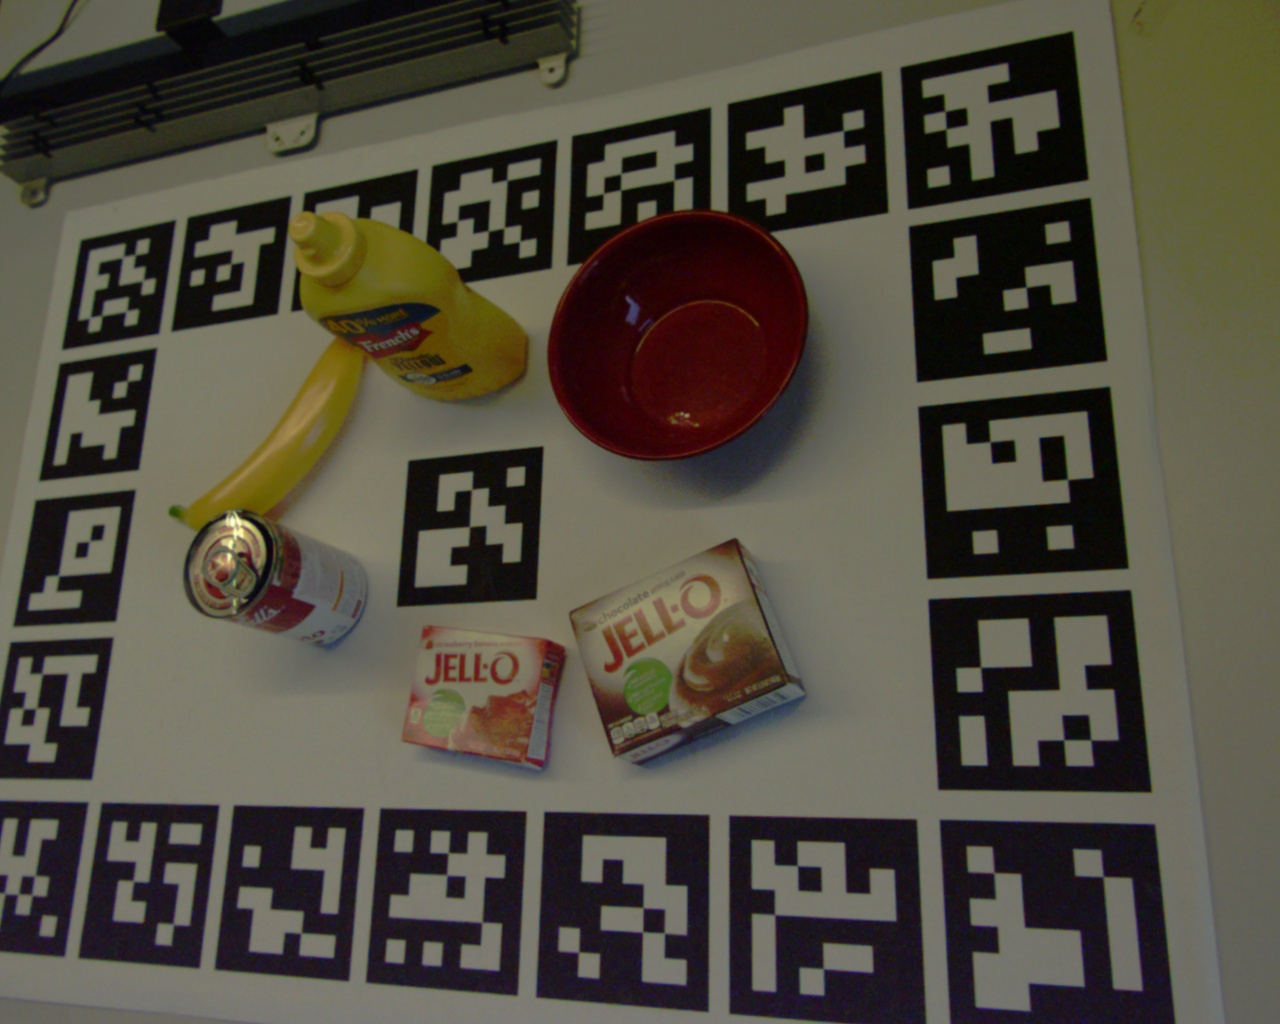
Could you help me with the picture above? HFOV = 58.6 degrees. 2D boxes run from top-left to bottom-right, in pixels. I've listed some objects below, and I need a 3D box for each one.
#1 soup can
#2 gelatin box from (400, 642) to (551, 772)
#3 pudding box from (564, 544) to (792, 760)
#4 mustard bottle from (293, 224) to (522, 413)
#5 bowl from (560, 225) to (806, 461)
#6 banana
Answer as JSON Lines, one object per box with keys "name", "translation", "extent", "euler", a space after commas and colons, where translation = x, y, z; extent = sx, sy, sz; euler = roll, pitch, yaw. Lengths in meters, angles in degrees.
{"name": "soup can", "translation": [-0.243, 0.042, 0.758], "extent": [0.068, 0.101, 0.068], "euler": [-6, 71, 17]}
{"name": "gelatin box", "translation": [-0.105, 0.123, 0.727], "extent": [0.090, 0.030, 0.073], "euler": [3, 78, 23]}
{"name": "pudding box", "translation": [0.022, 0.085, 0.683], "extent": [0.114, 0.038, 0.090], "euler": [-28, 71, 12]}
{"name": "mustard bottle", "translation": [-0.155, -0.125, 0.722], "extent": [0.097, 0.189, 0.058], "euler": [-4, 70, 20]}
{"name": "bowl", "translation": [0.032, -0.098, 0.729], "extent": [0.163, 0.054, 0.162], "euler": [-7, 71, 21]}
{"name": "banana", "translation": [-0.265, -0.052, 0.841], "extent": [0.197, 0.038, 0.075], "euler": [-49, 54, 2]}
